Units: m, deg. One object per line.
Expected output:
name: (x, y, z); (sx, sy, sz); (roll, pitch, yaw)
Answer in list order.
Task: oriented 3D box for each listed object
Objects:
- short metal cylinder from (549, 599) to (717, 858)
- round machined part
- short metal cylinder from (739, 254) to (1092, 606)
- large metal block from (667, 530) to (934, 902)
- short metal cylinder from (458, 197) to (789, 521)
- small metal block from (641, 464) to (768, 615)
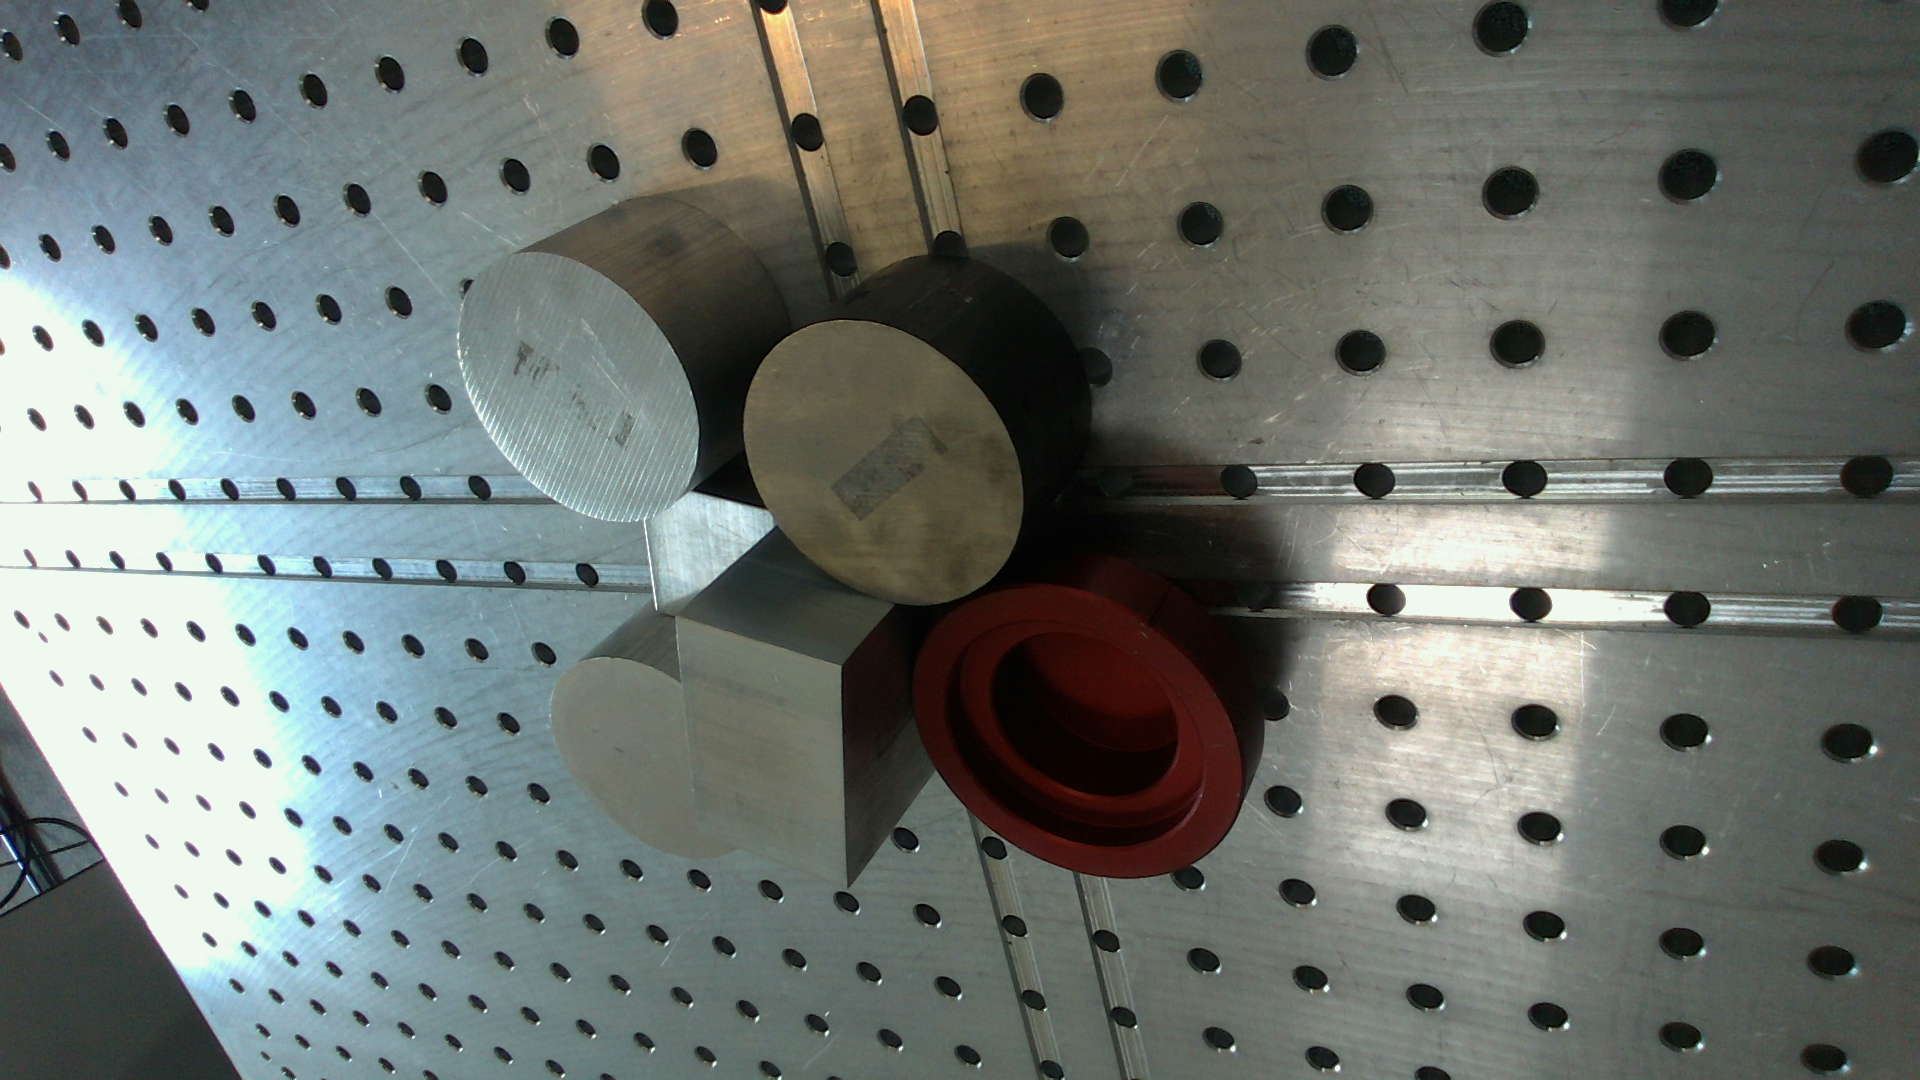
short metal cylinder: (-0.090, 0.059, 0.464); (0.080, 0.050, 0.080); (13, 124, 21)
round machined part: (0.038, 0.045, 0.392); (0.098, 0.042, 0.098); (13, 124, 21)
short metal cylinder: (-0.011, -0.030, 0.367); (0.080, 0.050, 0.080); (13, 124, 21)
large metal block: (-0.038, 0.042, 0.403); (0.050, 0.080, 0.080); (15, 125, 20)
short metal cylinder: (-0.096, -0.053, 0.398); (0.080, 0.050, 0.080); (13, 124, 21)
small metal block: (-0.072, 0.002, 0.435); (0.050, 0.025, 0.050); (14, 124, 21)
